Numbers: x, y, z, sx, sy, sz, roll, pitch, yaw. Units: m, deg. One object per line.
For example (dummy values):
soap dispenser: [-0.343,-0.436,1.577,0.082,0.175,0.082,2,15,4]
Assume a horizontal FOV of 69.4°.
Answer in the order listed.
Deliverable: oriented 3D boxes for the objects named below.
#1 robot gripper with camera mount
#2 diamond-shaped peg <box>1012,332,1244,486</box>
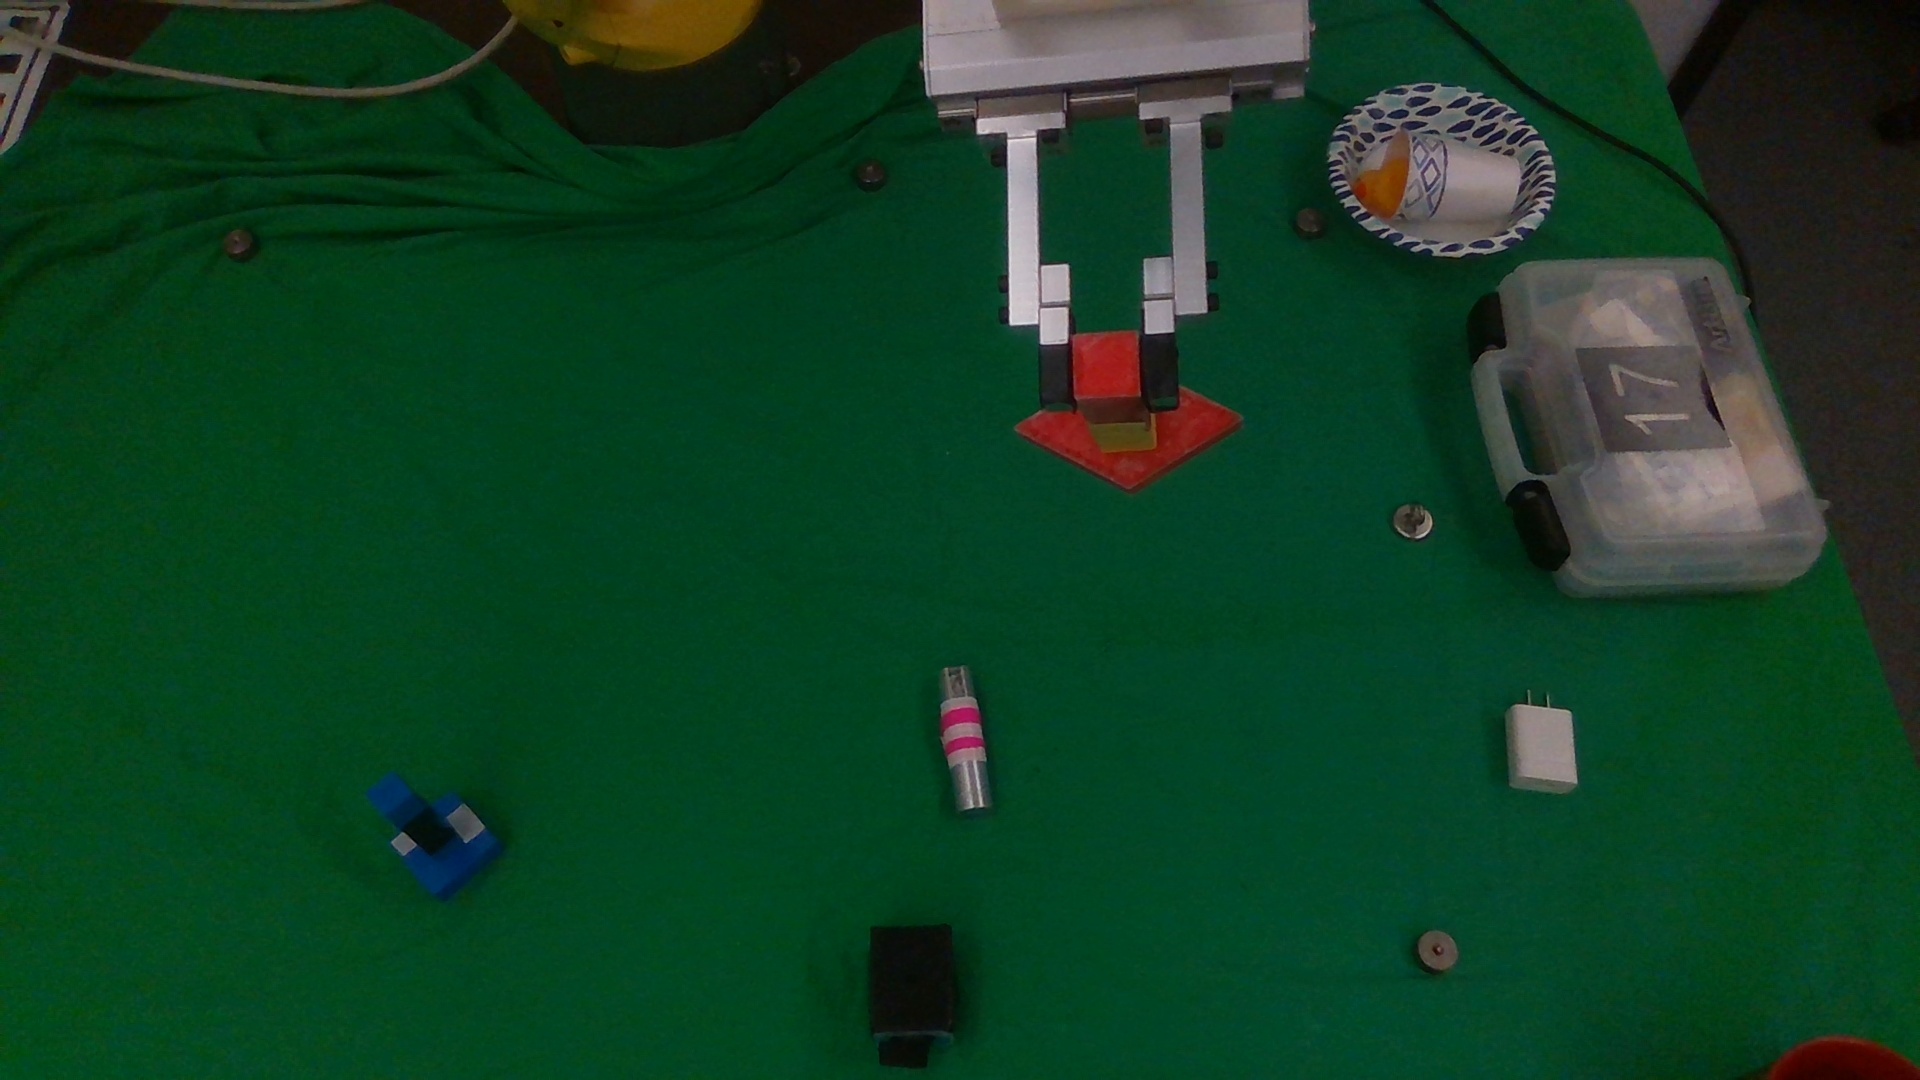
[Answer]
robot gripper with camera mount: [0.043,-0.128,0.361,0.119,0.193,0.158,-2,86,3]
diamond-shaped peg: [0.053,-0.049,0.471,0.074,0.122,0.045,-32,81,8]
